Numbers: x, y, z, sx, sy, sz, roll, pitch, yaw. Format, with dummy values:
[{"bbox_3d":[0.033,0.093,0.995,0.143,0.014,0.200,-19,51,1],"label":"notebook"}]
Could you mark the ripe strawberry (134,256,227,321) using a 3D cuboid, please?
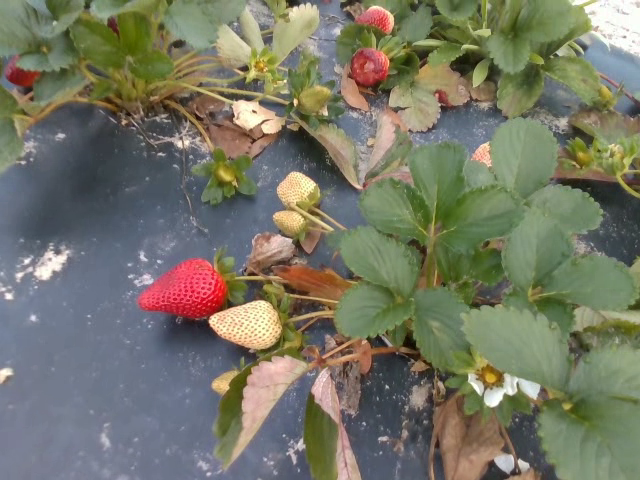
[{"bbox_3d":[-0.085,0.031,0.376,0.059,0.034,0.050,-21,55,-35],"label":"ripe strawberry"}]
